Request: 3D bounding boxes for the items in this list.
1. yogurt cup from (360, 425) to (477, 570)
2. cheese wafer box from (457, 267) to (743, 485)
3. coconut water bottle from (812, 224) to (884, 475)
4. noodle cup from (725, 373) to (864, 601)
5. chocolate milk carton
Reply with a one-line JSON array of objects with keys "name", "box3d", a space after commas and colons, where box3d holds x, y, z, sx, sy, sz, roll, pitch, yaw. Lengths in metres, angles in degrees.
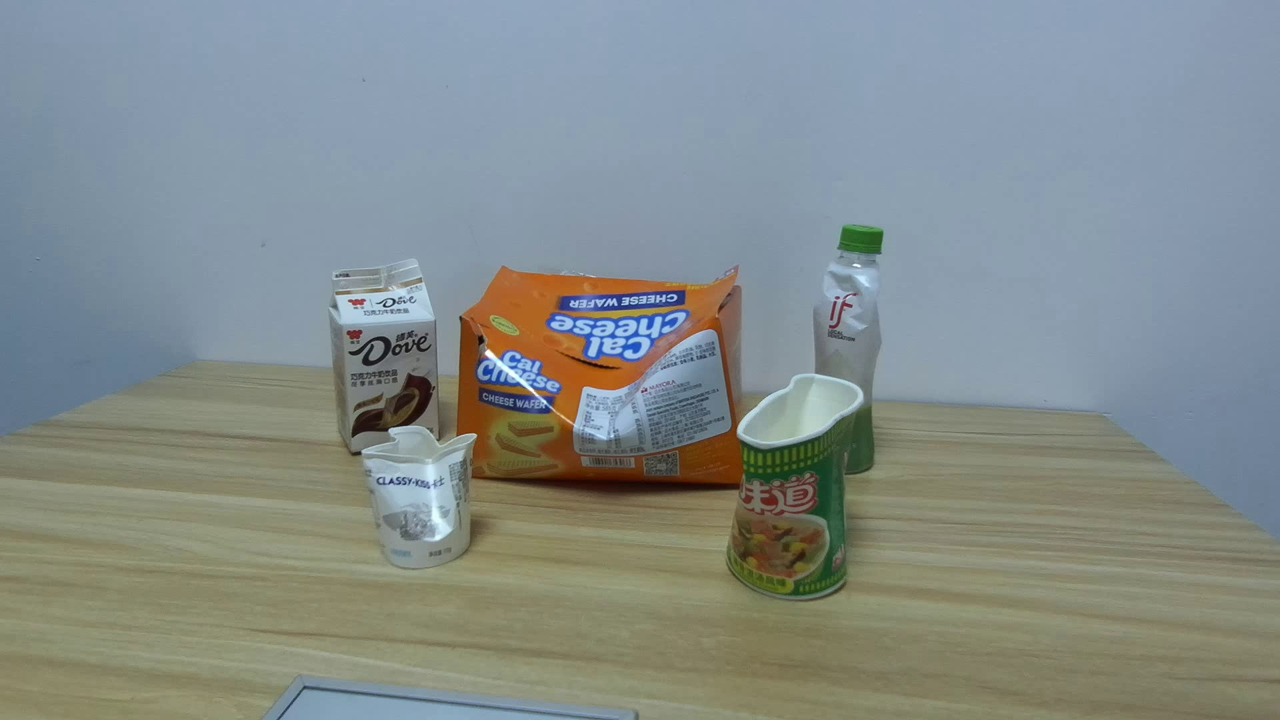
[{"name": "yogurt cup", "box3d": [-0.131, 0.081, 0.432, 0.055, 0.072, 0.055, 5, 17, 14]}, {"name": "cheese wafer box", "box3d": [-0.025, 0.006, 0.564, 0.219, 0.145, 0.191, 2, 17, 3]}, {"name": "coconut water bottle", "box3d": [0.162, -0.008, 0.551, 0.067, 0.187, 0.067, 4, 15, -1]}, {"name": "noodle cup", "box3d": [0.087, 0.073, 0.407, 0.115, 0.111, 0.070, -12, 22, -38]}, {"name": "chocolate milk carton", "box3d": [-0.214, -0.007, 0.591, 0.076, 0.148, 0.073, -7, 16, -29]}]
